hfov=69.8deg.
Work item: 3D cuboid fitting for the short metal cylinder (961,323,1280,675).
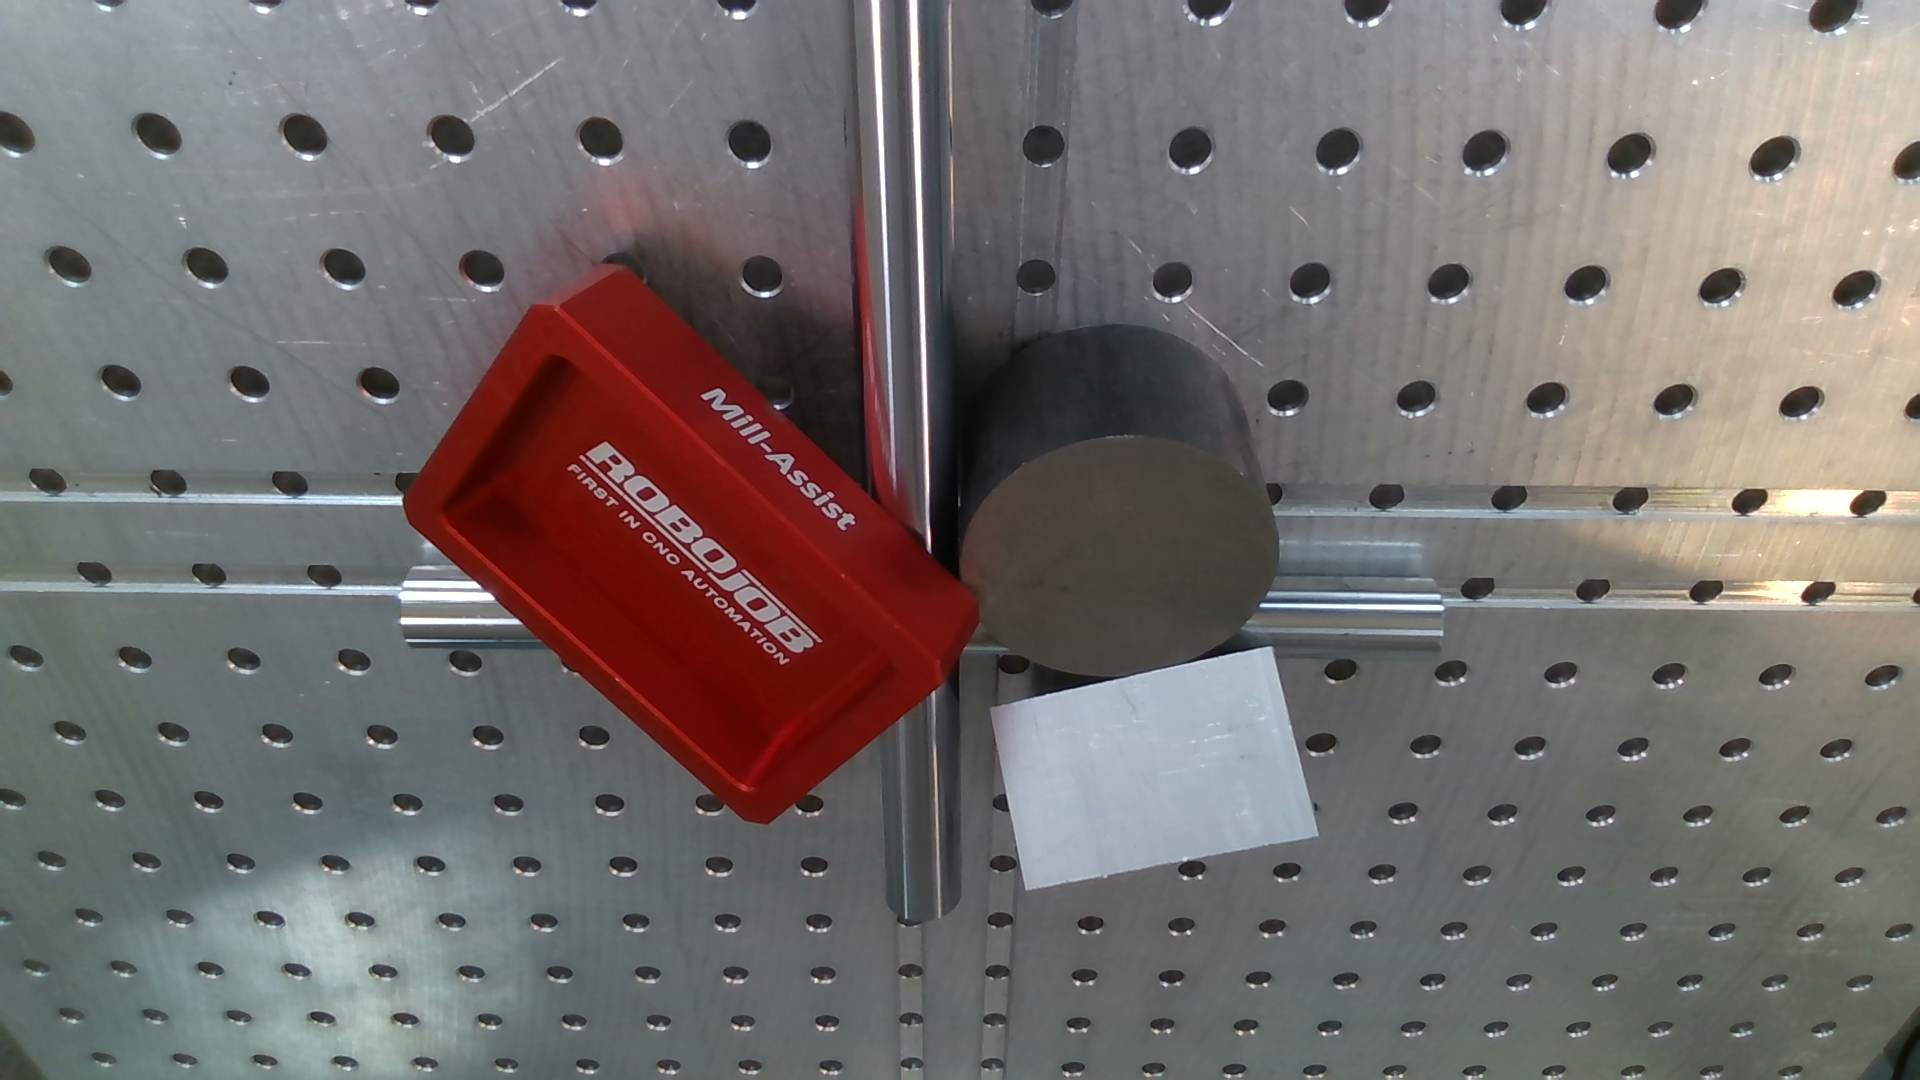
[{"bbox_3d":[0.040,-0.010,0.367,0.080,0.050,0.080,0,130,0],"label":"short metal cylinder"}]

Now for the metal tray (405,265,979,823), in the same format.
[{"bbox_3d":[-0.071,0.005,0.359,0.130,0.030,0.090,44,126,-7],"label":"metal tray"}]

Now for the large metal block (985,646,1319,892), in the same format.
[{"bbox_3d":[0.059,0.068,0.407,0.080,0.050,0.080,-14,168,12],"label":"large metal block"}]

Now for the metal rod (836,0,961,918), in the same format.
[{"bbox_3d":[-0.013,-0.015,0.358,0.025,0.025,0.301,0,123,0],"label":"metal rod"}]

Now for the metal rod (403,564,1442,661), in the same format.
[{"bbox_3d":[-0.010,0.022,0.410,0.300,0.025,0.025,1,130,0],"label":"metal rod"}]
